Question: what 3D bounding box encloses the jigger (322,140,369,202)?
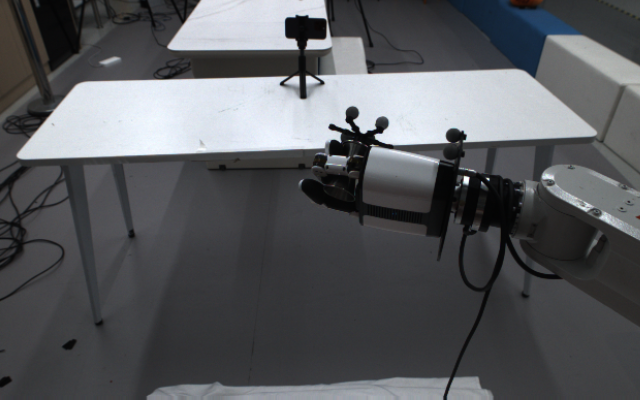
[{"bbox_3d":[0.036,-0.040,0.617,0.043,0.043,0.071,16,70,19],"label":"jigger"}]
